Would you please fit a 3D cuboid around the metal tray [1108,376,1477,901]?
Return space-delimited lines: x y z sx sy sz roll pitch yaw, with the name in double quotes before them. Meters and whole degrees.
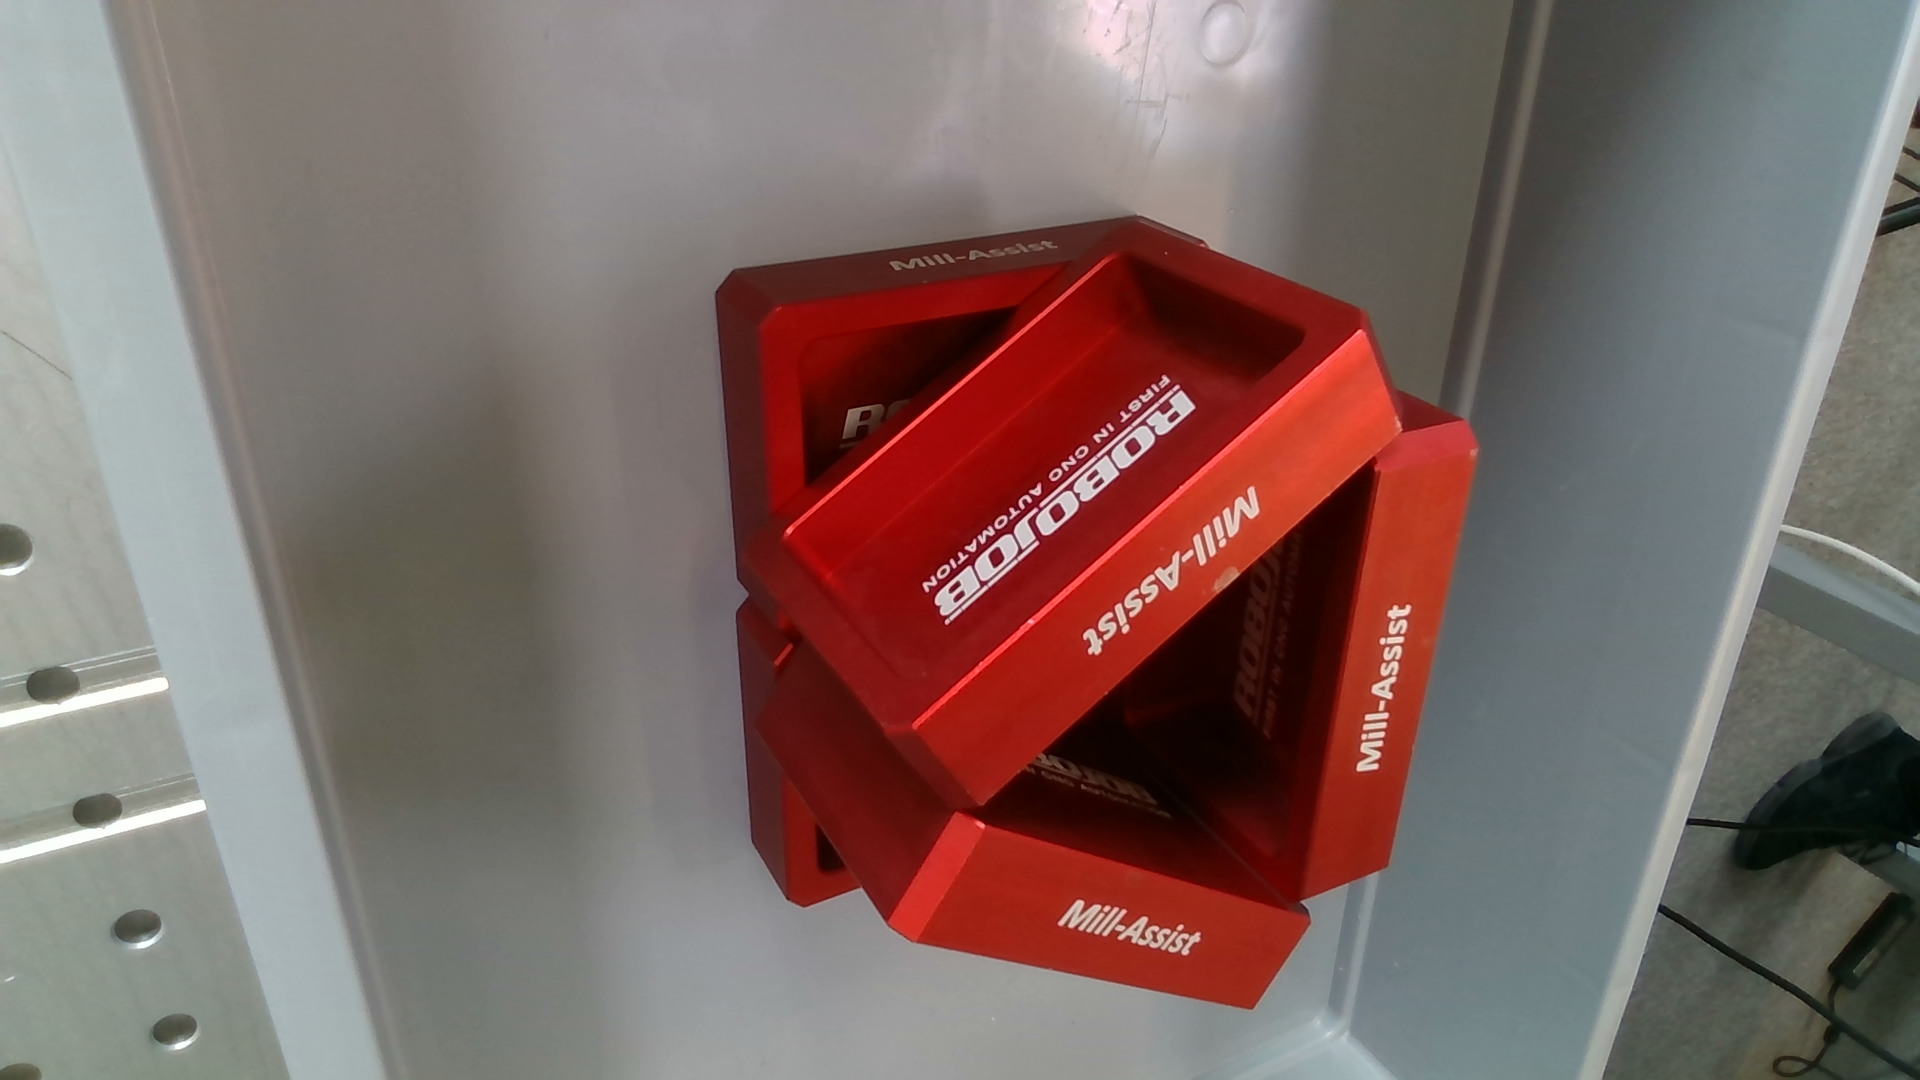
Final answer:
"metal tray" 0.081 0.017 0.365 0.030 0.090 0.130 -13 120 -26

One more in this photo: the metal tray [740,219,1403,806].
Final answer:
"metal tray" 0.022 -0.013 0.314 0.130 0.090 0.030 -41 128 -6

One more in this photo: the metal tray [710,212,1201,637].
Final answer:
"metal tray" 0.003 -0.034 0.370 0.130 0.030 0.090 -14 121 -26

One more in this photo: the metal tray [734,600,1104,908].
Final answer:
"metal tray" 0.001 0.047 0.412 0.130 0.030 0.090 -14 121 -26

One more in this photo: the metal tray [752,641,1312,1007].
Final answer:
"metal tray" 0.020 0.073 0.358 0.130 0.090 0.030 24 100 -38
